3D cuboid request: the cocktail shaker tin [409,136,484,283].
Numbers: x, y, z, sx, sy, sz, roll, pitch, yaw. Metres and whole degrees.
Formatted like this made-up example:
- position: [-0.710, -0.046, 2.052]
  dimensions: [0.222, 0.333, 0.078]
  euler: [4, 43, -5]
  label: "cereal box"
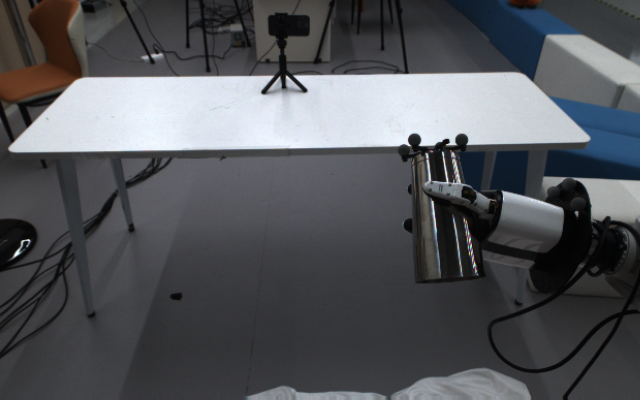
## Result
- position: [0.167, 0.023, 0.656]
  dimensions: [0.093, 0.093, 0.170]
  euler: [-3, 76, -8]
  label: "cocktail shaker tin"
